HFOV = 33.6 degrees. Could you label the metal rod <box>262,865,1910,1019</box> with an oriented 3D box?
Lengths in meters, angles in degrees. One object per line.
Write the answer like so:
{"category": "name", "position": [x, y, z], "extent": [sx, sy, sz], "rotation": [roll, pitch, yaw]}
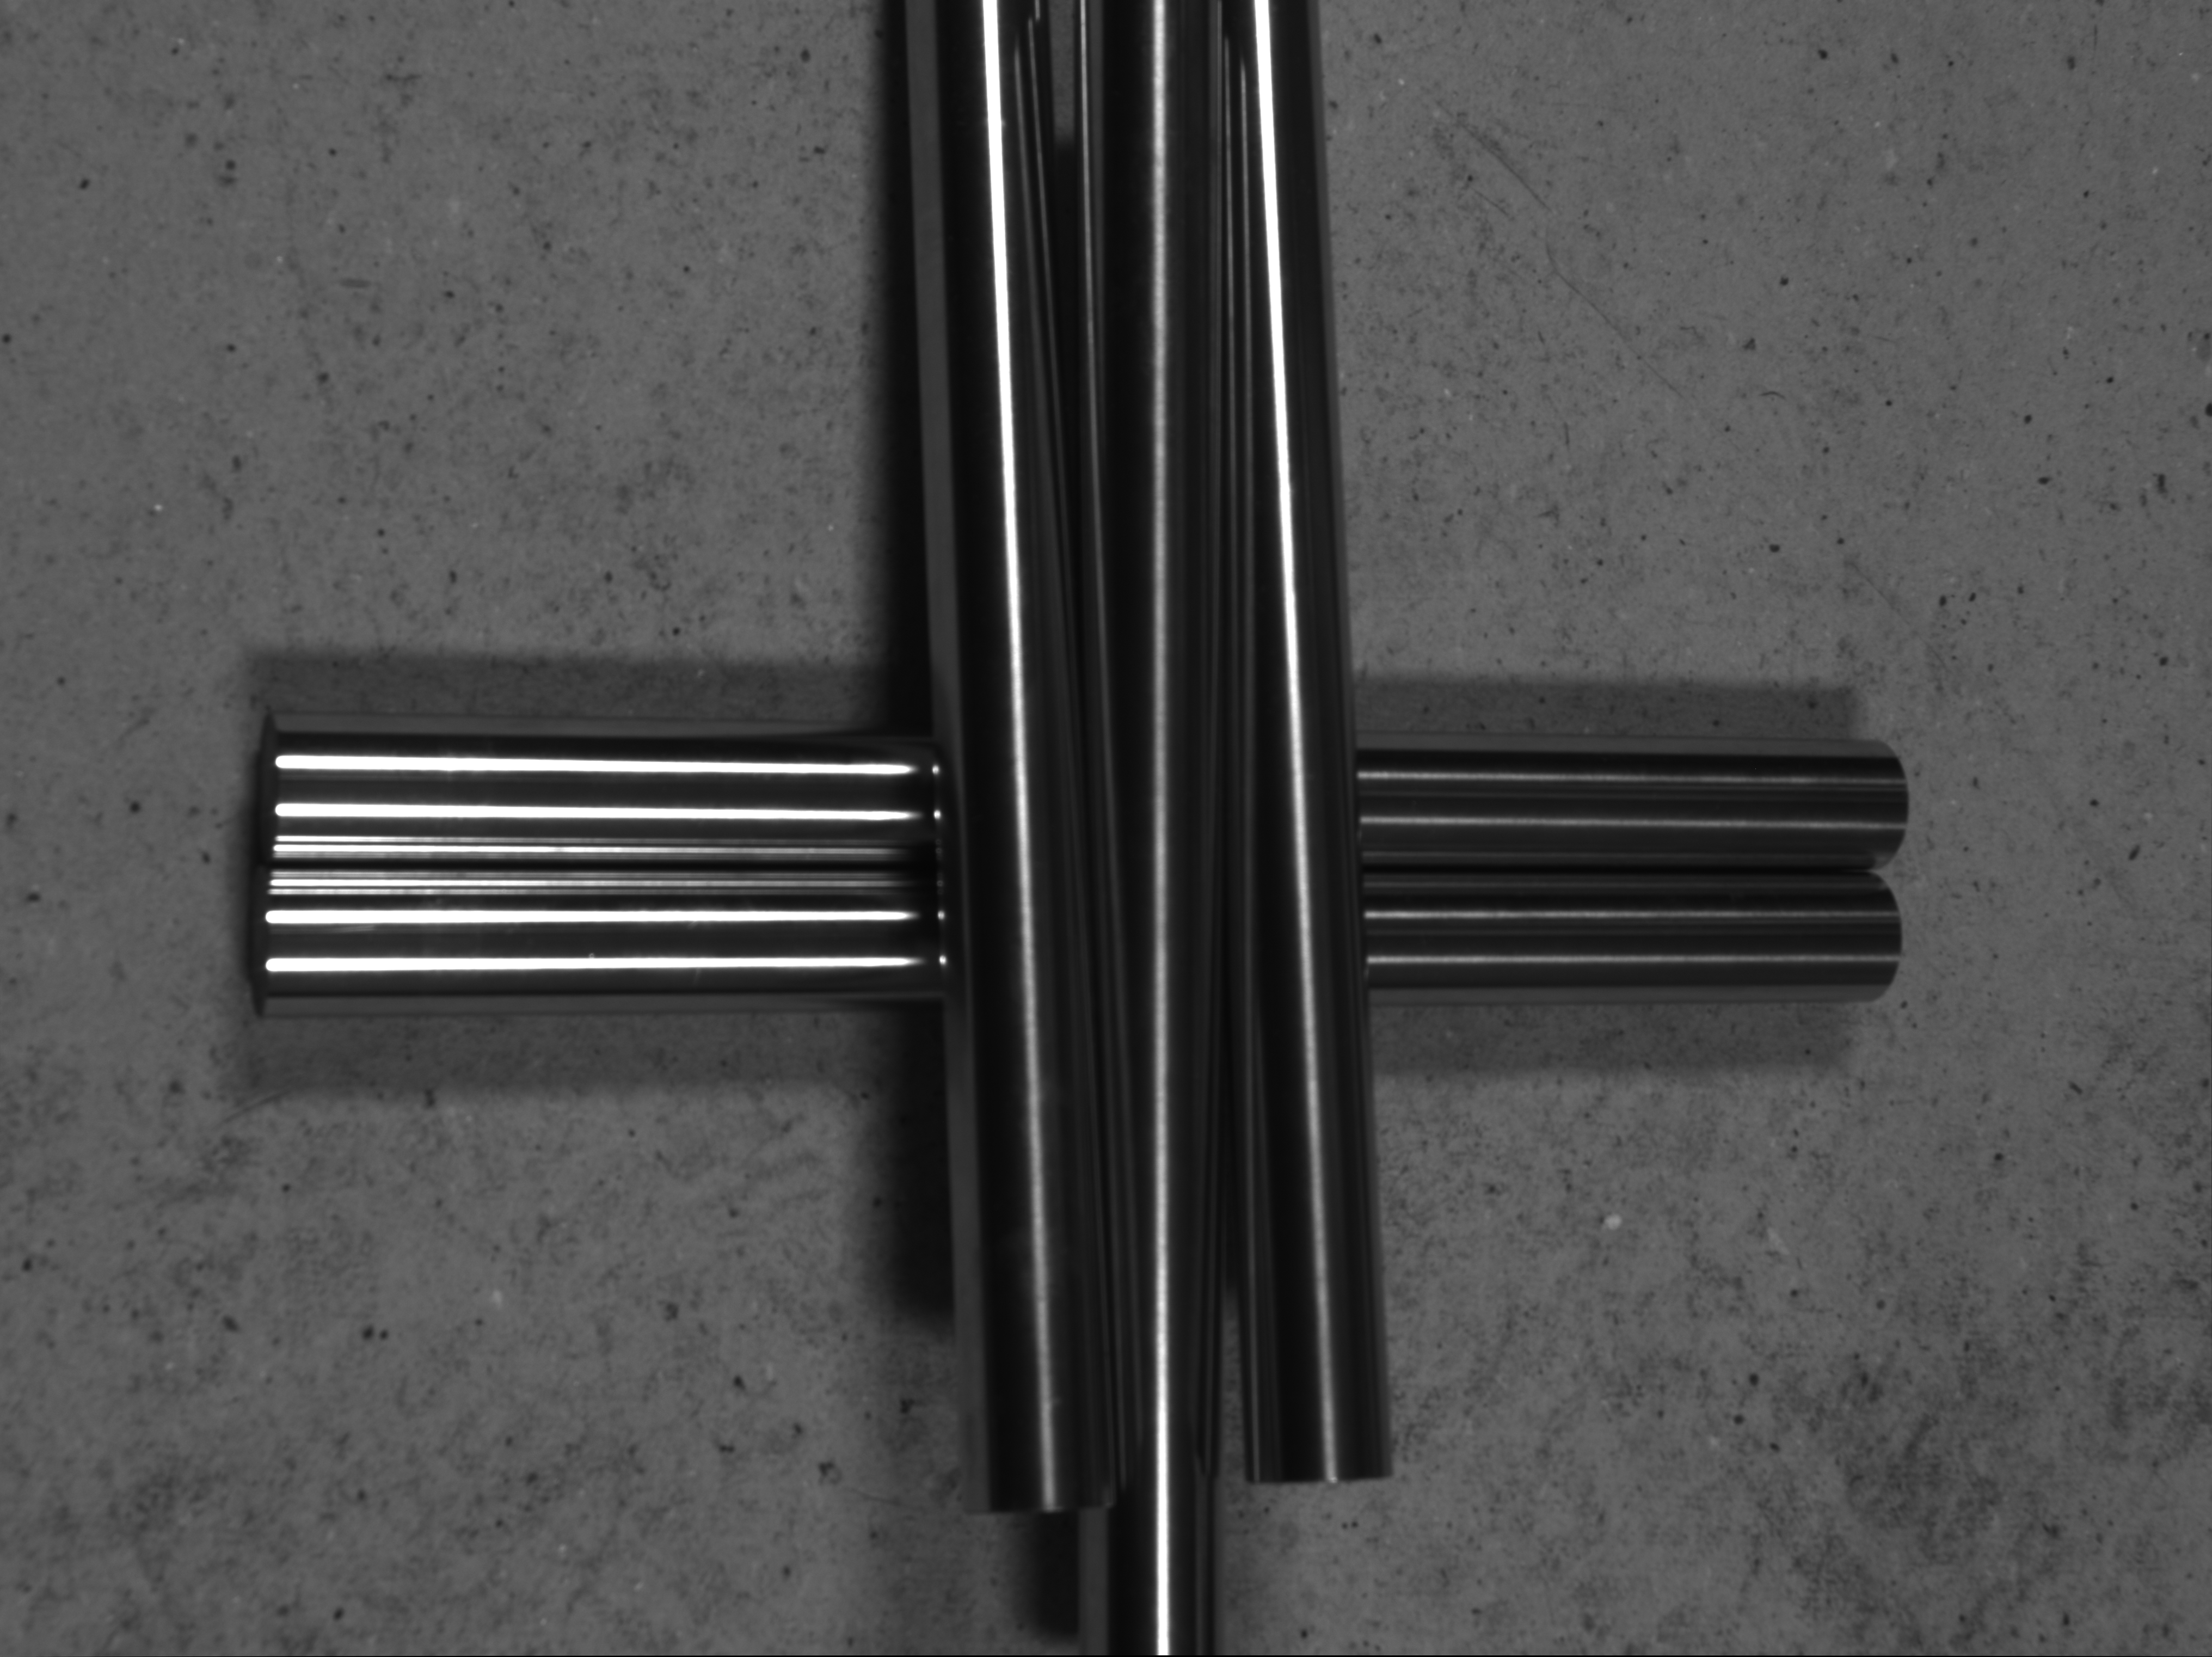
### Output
{"category": "metal rod", "position": [0.005, 0.020, 0.646], "extent": [0.301, 0.025, 0.025], "rotation": [0, 90, -20]}

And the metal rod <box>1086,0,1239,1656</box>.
{"category": "metal rod", "position": [0.010, 0.010, 0.620], "extent": [0.025, 0.025, 0.300], "rotation": [0, 90, -20]}

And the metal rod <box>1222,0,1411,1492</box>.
{"category": "metal rod", "position": [0.032, -0.038, 0.632], "extent": [0.025, 0.025, 0.300], "rotation": [0, 82, -20]}

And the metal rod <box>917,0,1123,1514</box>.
{"category": "metal rod", "position": [-0.016, -0.038, 0.616], "extent": [0.025, 0.025, 0.300], "rotation": [0, 82, -20]}

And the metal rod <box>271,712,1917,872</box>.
{"category": "metal rod", "position": [0.007, -0.005, 0.647], "extent": [0.301, 0.025, 0.025], "rotation": [0, 90, -20]}
